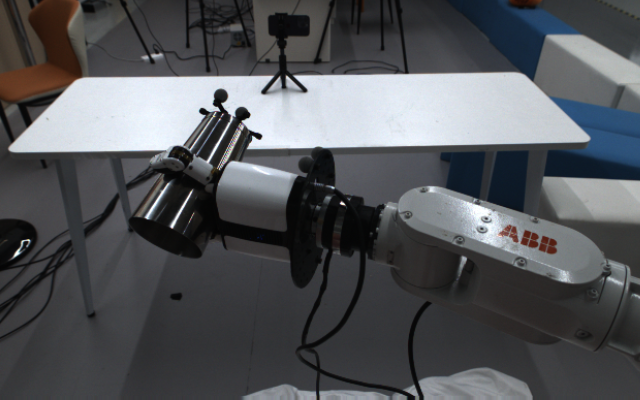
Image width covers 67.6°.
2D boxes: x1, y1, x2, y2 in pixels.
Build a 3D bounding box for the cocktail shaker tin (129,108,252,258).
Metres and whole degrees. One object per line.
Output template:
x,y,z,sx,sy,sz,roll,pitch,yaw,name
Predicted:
-0.150,-0.024,0.593,0.093,0.093,0.170,14,61,17,cocktail shaker tin
